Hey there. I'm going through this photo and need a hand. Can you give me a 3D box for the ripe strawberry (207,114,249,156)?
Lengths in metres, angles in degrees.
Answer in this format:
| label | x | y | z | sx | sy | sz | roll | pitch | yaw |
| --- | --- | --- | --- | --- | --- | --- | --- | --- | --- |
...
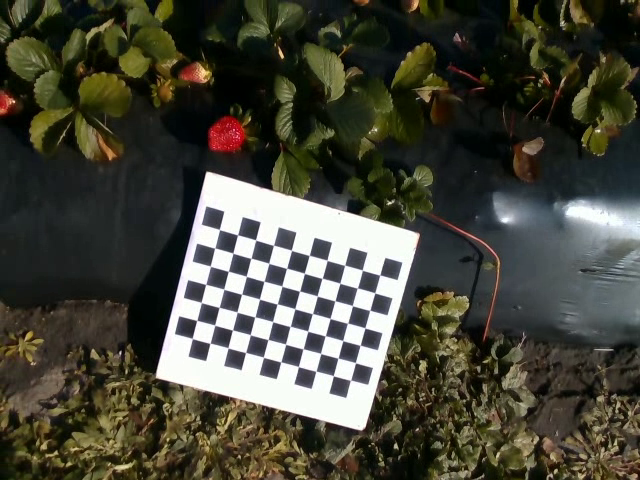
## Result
| label | x | y | z | sx | sy | sz | roll | pitch | yaw |
| --- | --- | --- | --- | --- | --- | --- | --- | --- | --- |
| ripe strawberry | -0.119 | -0.124 | 0.745 | 0.058 | 0.066 | 0.062 | -27 | 9 | 27 |
